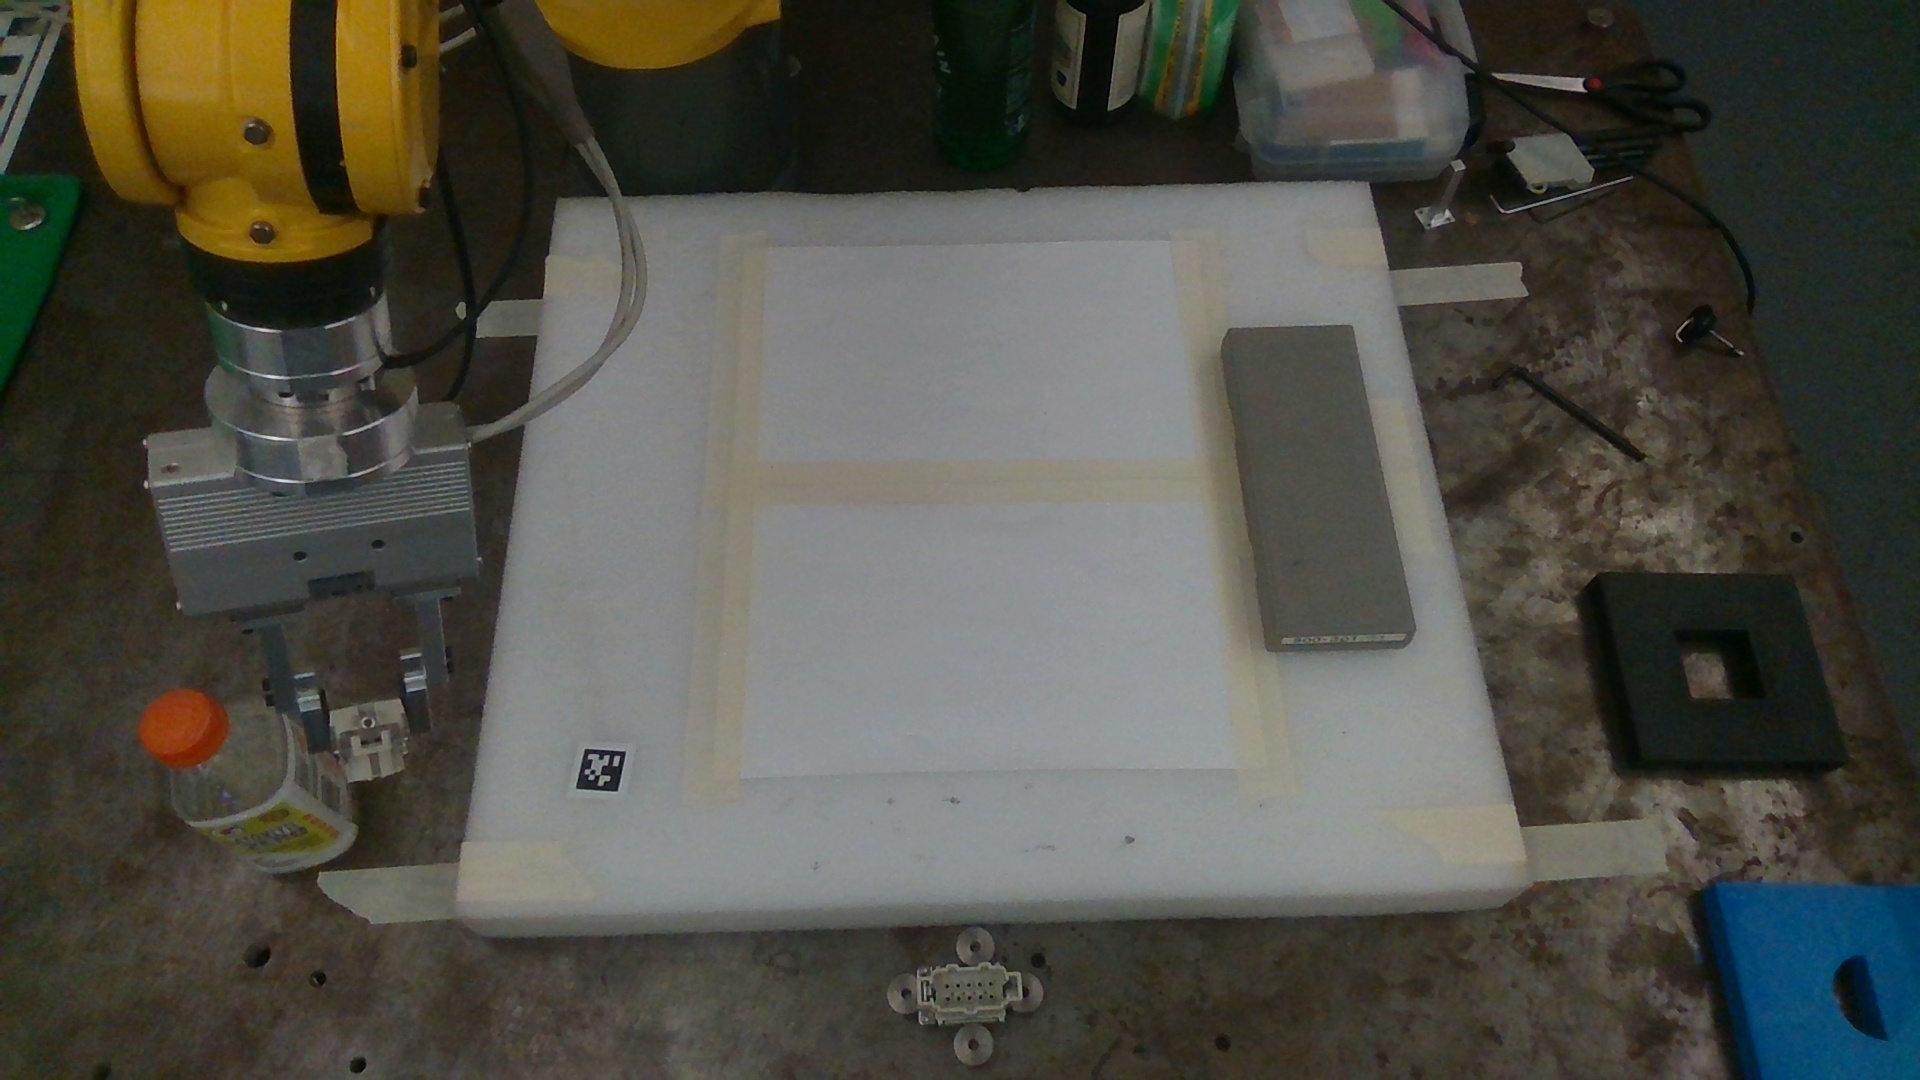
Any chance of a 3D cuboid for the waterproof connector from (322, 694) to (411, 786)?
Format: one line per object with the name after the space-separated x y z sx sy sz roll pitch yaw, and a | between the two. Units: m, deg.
-0.283 0.095 0.660 0.036 0.069 0.038 -8 87 -26 | waterproof connector
